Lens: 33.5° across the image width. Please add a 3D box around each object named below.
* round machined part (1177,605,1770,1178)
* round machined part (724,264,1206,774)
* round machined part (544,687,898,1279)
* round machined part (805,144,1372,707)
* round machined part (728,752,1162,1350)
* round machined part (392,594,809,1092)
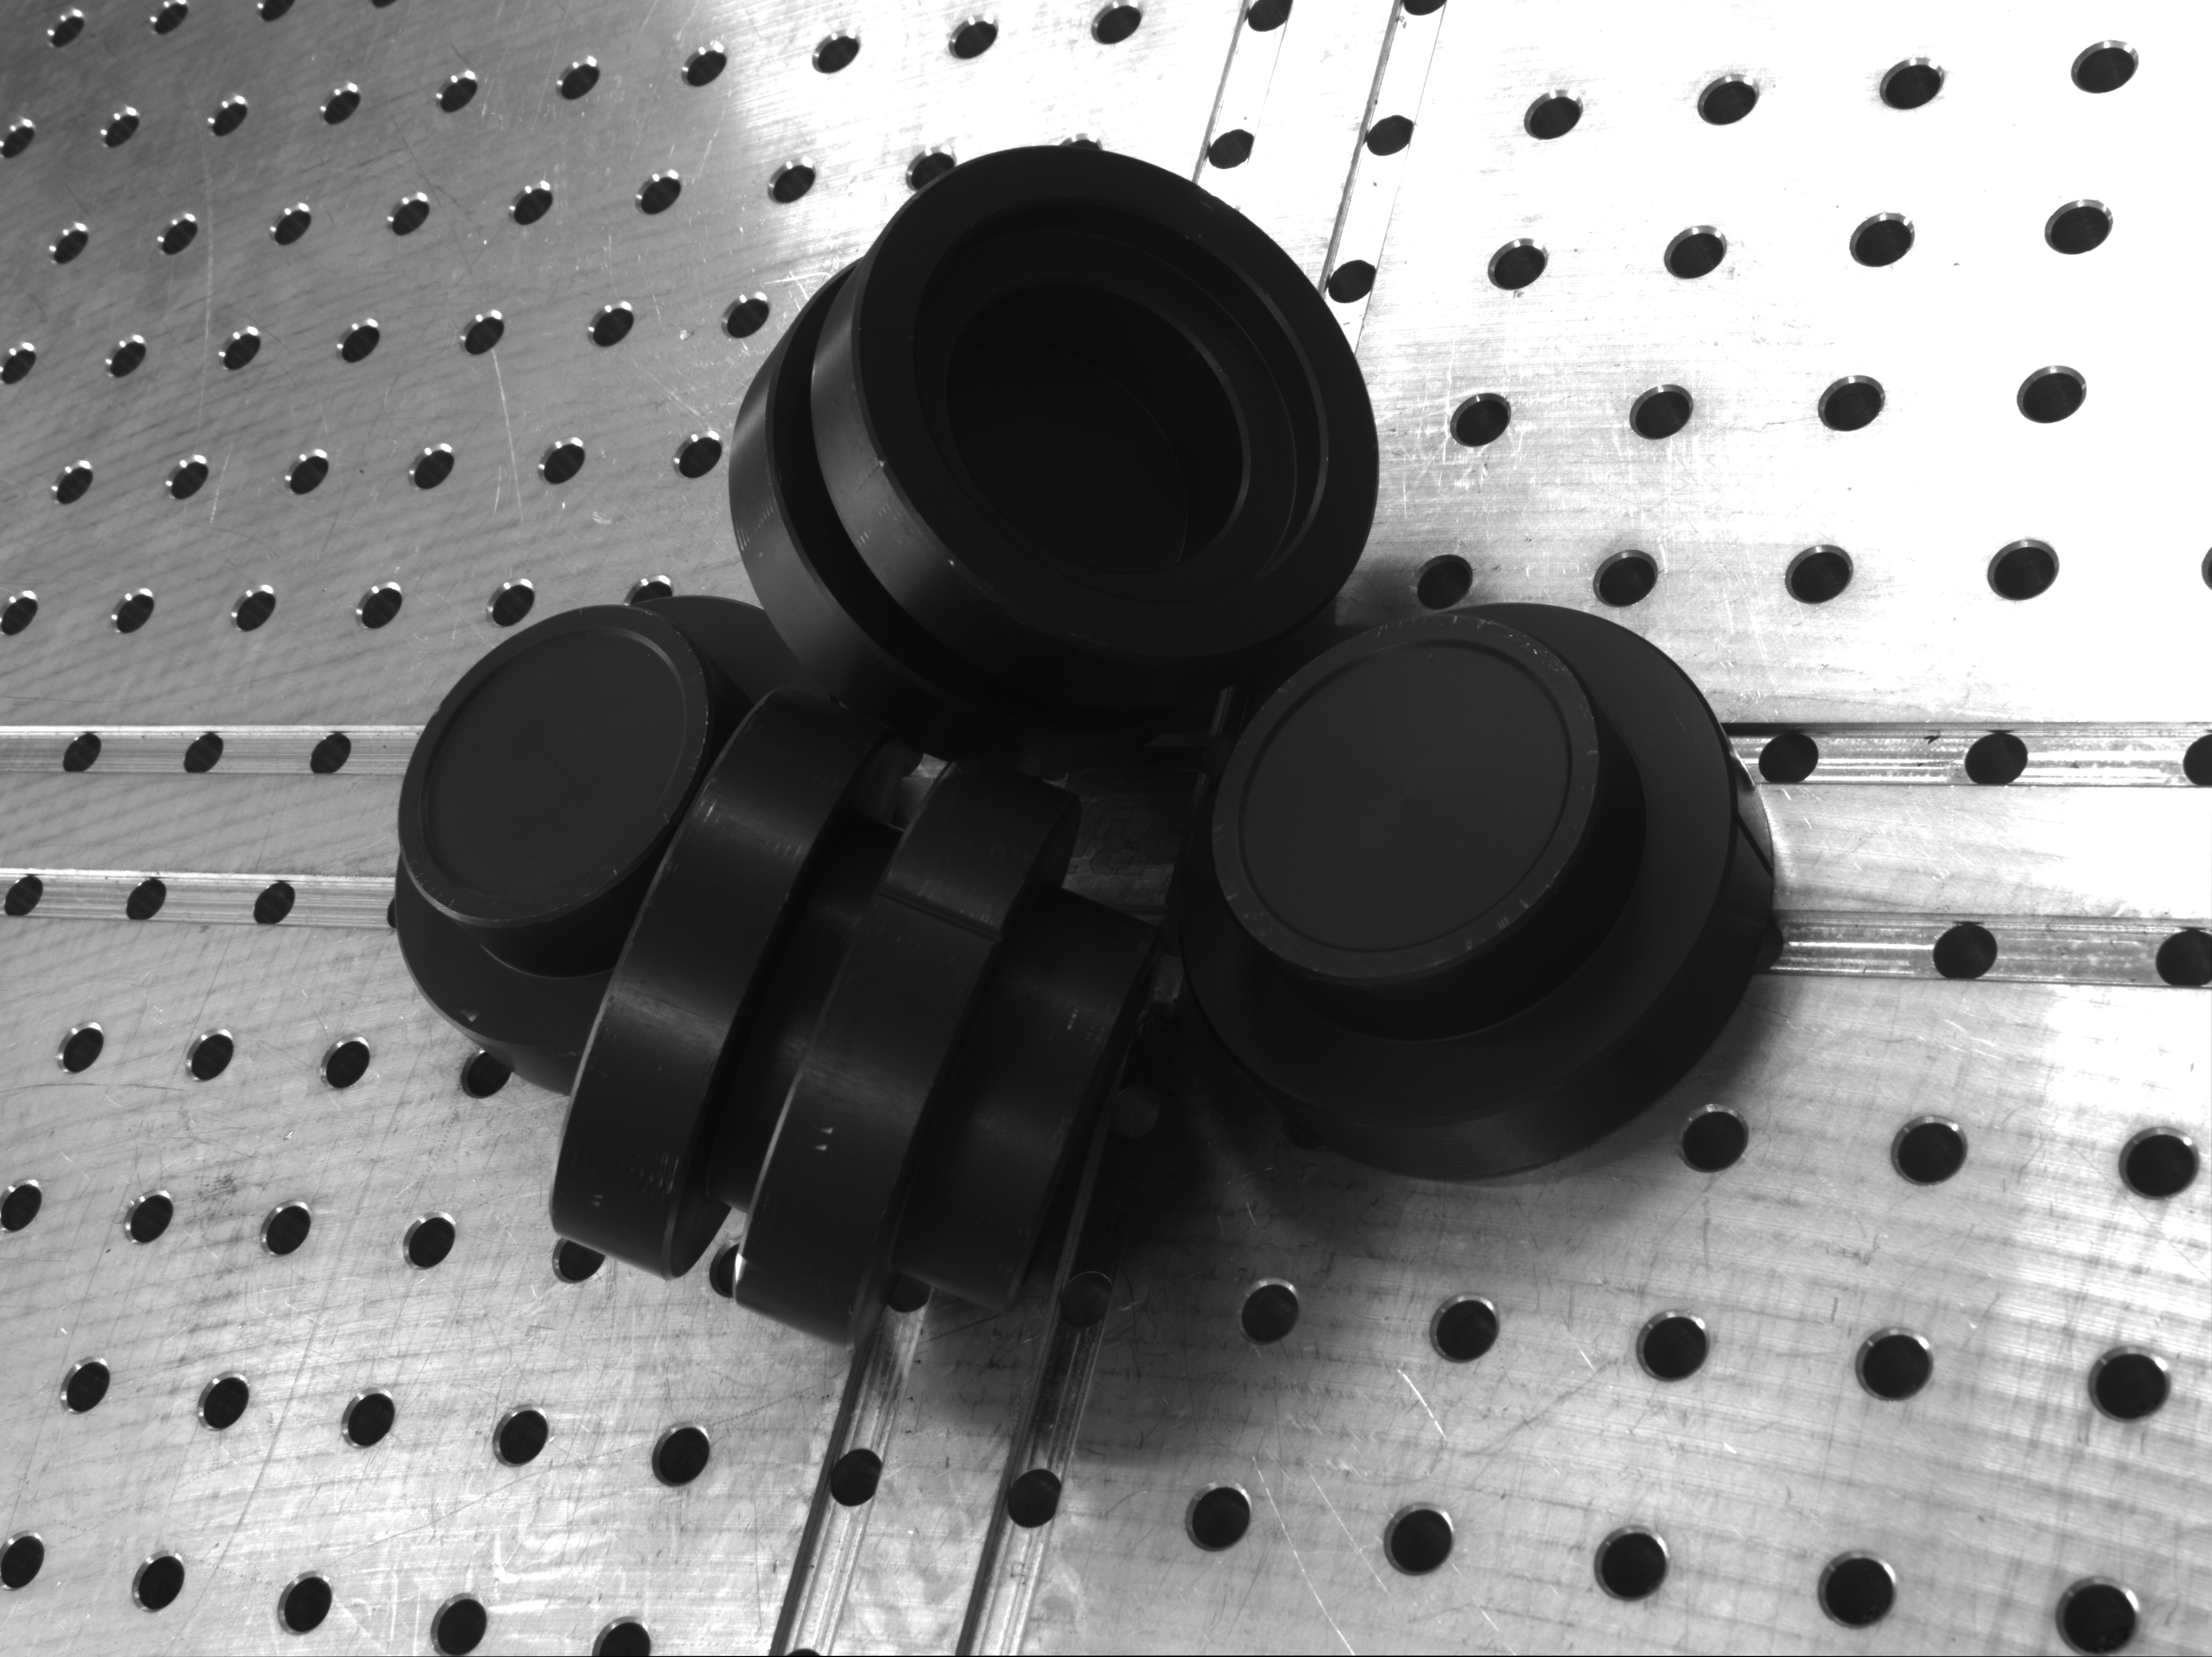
[{"bbox_3d":[0.056,0.004,0.605,0.098,0.042,0.098,-14,56,21],"label":"round machined part"},{"bbox_3d":[-0.023,-0.054,0.662,0.042,0.098,0.098,-41,34,56],"label":"round machined part"},{"bbox_3d":[-0.053,0.029,0.606,0.042,0.098,0.098,22,71,3],"label":"round machined part"},{"bbox_3d":[-0.006,-0.065,0.637,0.042,0.098,0.098,-41,34,56],"label":"round machined part"},{"bbox_3d":[-0.023,0.040,0.601,0.042,0.098,0.098,23,71,3],"label":"round machined part"},{"bbox_3d":[-0.093,-0.003,0.689,0.098,0.042,0.098,-14,56,21],"label":"round machined part"}]
